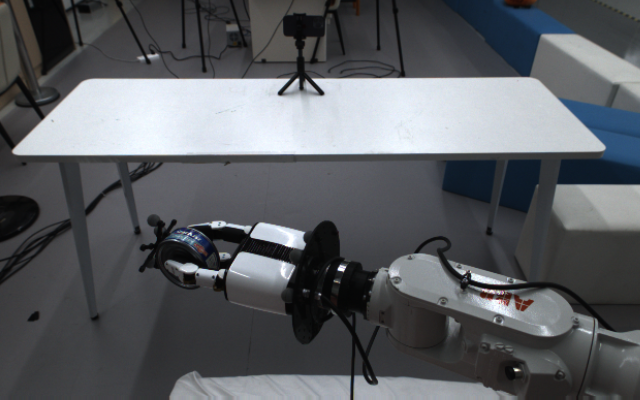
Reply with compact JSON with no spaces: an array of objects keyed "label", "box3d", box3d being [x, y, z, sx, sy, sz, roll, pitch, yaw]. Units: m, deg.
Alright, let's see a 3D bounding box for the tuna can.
[{"label":"tuna can","box3d":[-0.183,0.086,0.674,0.085,0.085,0.034,13,31,15]}]
